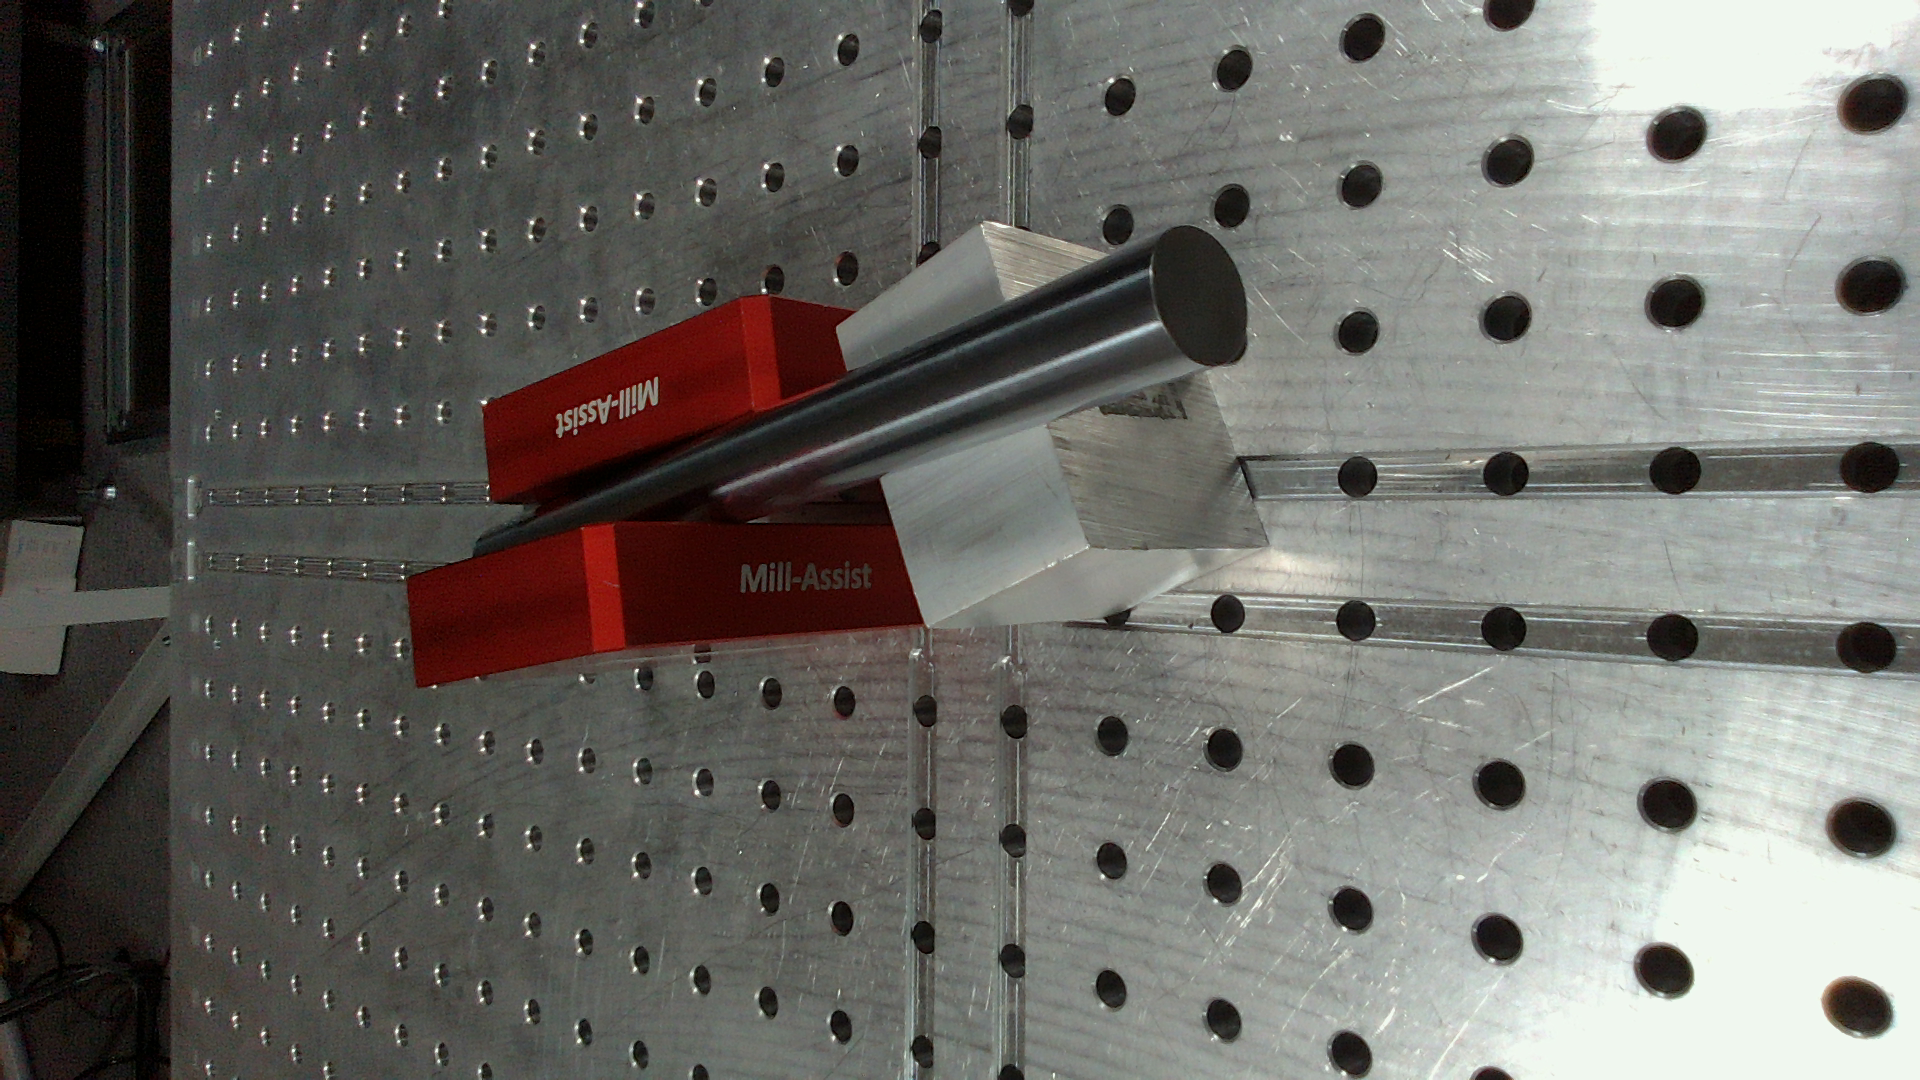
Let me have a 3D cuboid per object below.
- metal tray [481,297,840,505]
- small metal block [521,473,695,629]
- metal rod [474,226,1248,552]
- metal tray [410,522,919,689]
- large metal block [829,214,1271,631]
[{"bbox_3d":[-0.069,-0.036,0.412,0.129,0.090,0.030,-12,83,40],"label":"metal tray"},{"bbox_3d":[-0.124,0.004,0.485,0.025,0.050,0.050,-11,83,40],"label":"small metal block"},{"bbox_3d":[-0.054,-0.017,0.345,0.299,0.025,0.025,-14,81,49],"label":"metal rod"},{"bbox_3d":[-0.073,0.018,0.391,0.090,0.131,0.030,-13,82,39],"label":"metal tray"},{"bbox_3d":[0.023,-0.026,0.341,0.050,0.080,0.080,-29,72,37],"label":"large metal block"}]
